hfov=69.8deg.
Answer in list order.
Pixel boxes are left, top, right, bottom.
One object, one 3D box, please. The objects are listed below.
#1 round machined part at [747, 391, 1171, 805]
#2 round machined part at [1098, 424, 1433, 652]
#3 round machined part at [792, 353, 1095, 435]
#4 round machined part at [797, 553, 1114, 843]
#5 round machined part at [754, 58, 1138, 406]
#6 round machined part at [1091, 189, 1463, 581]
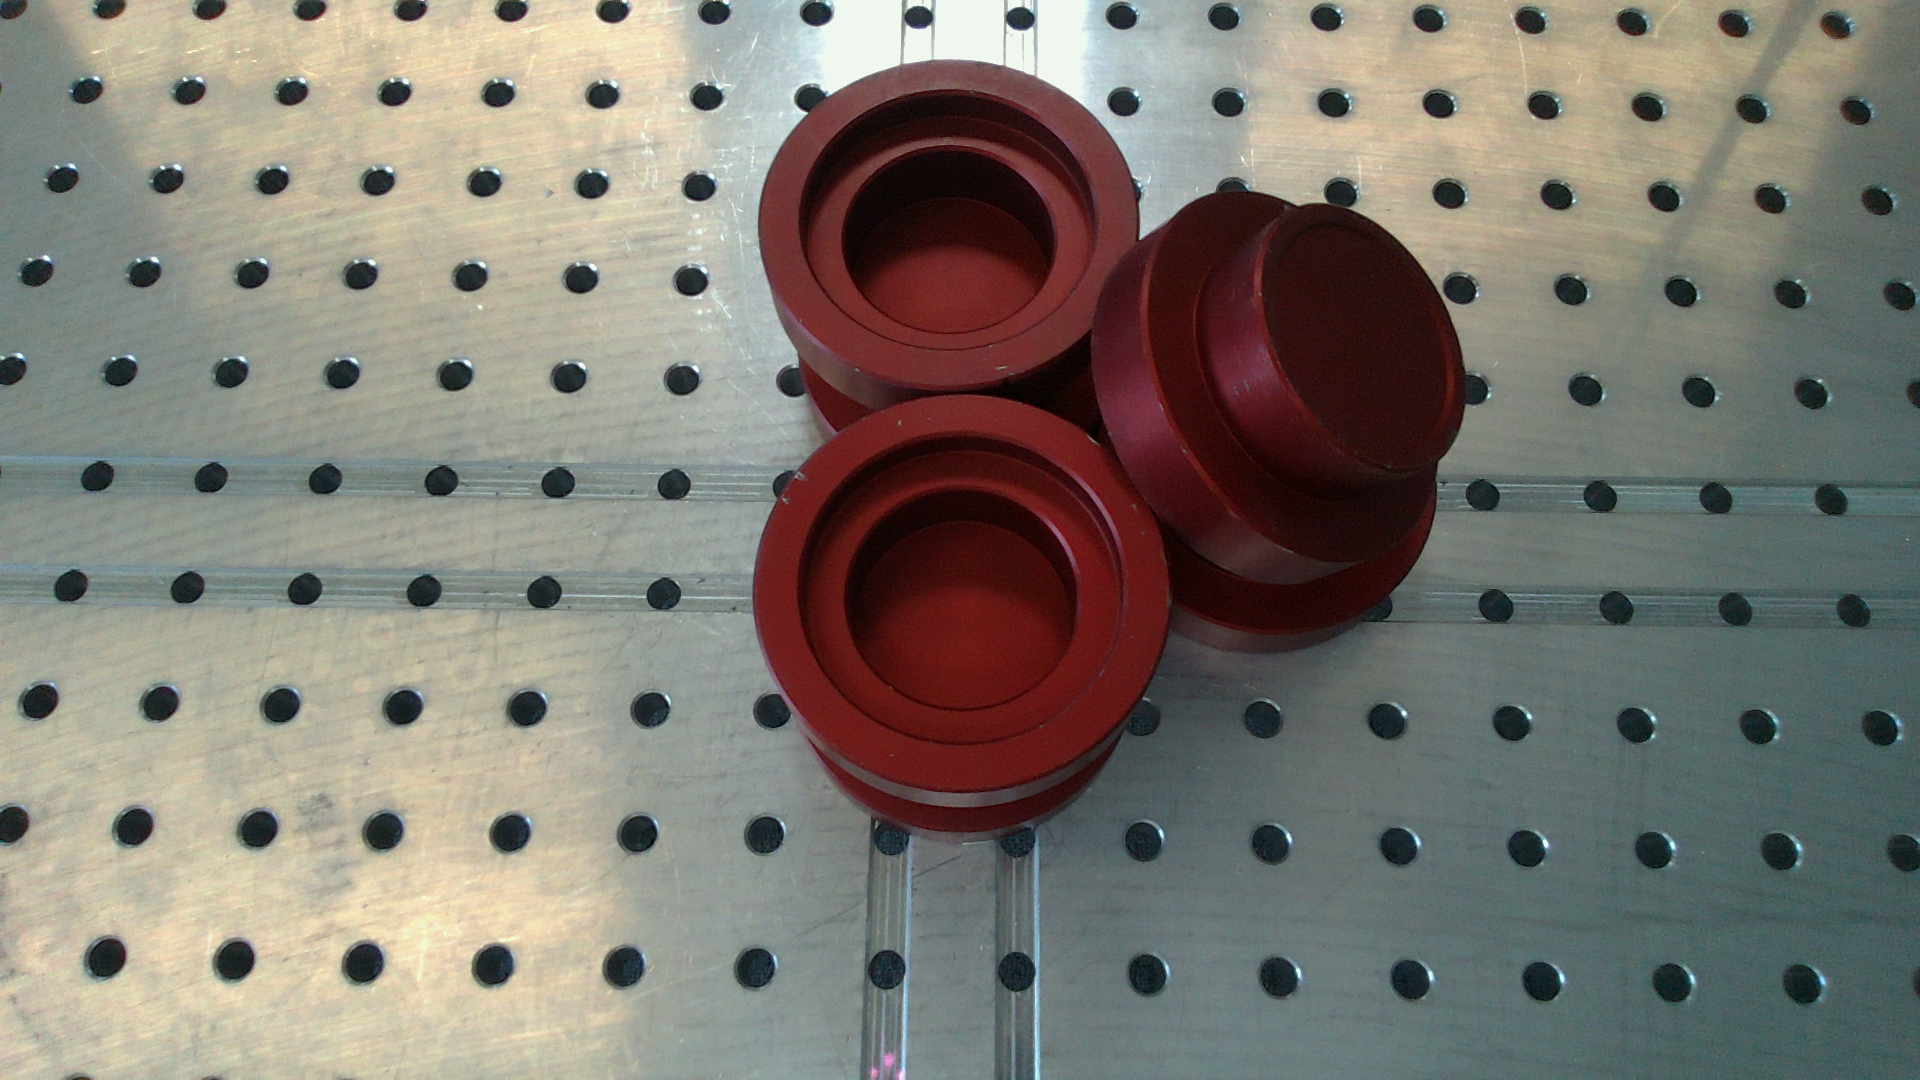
[{"bbox_3d":[0.000,0.017,0.337,0.098,0.042,0.098,0,70,0],"label":"round machined part"},{"bbox_3d":[0.087,-0.021,0.396,0.098,0.042,0.098,0,70,0],"label":"round machined part"},{"bbox_3d":[-0.002,-0.061,0.411,0.098,0.042,0.098,0,70,0],"label":"round machined part"},{"bbox_3d":[-0.001,0.031,0.377,0.098,0.042,0.098,0,70,0],"label":"round machined part"},{"bbox_3d":[-0.003,-0.076,0.371,0.098,0.042,0.098,0,70,0],"label":"round machined part"},{"bbox_3d":[0.083,-0.042,0.336,0.098,0.042,0.098,13,66,-30],"label":"round machined part"}]
